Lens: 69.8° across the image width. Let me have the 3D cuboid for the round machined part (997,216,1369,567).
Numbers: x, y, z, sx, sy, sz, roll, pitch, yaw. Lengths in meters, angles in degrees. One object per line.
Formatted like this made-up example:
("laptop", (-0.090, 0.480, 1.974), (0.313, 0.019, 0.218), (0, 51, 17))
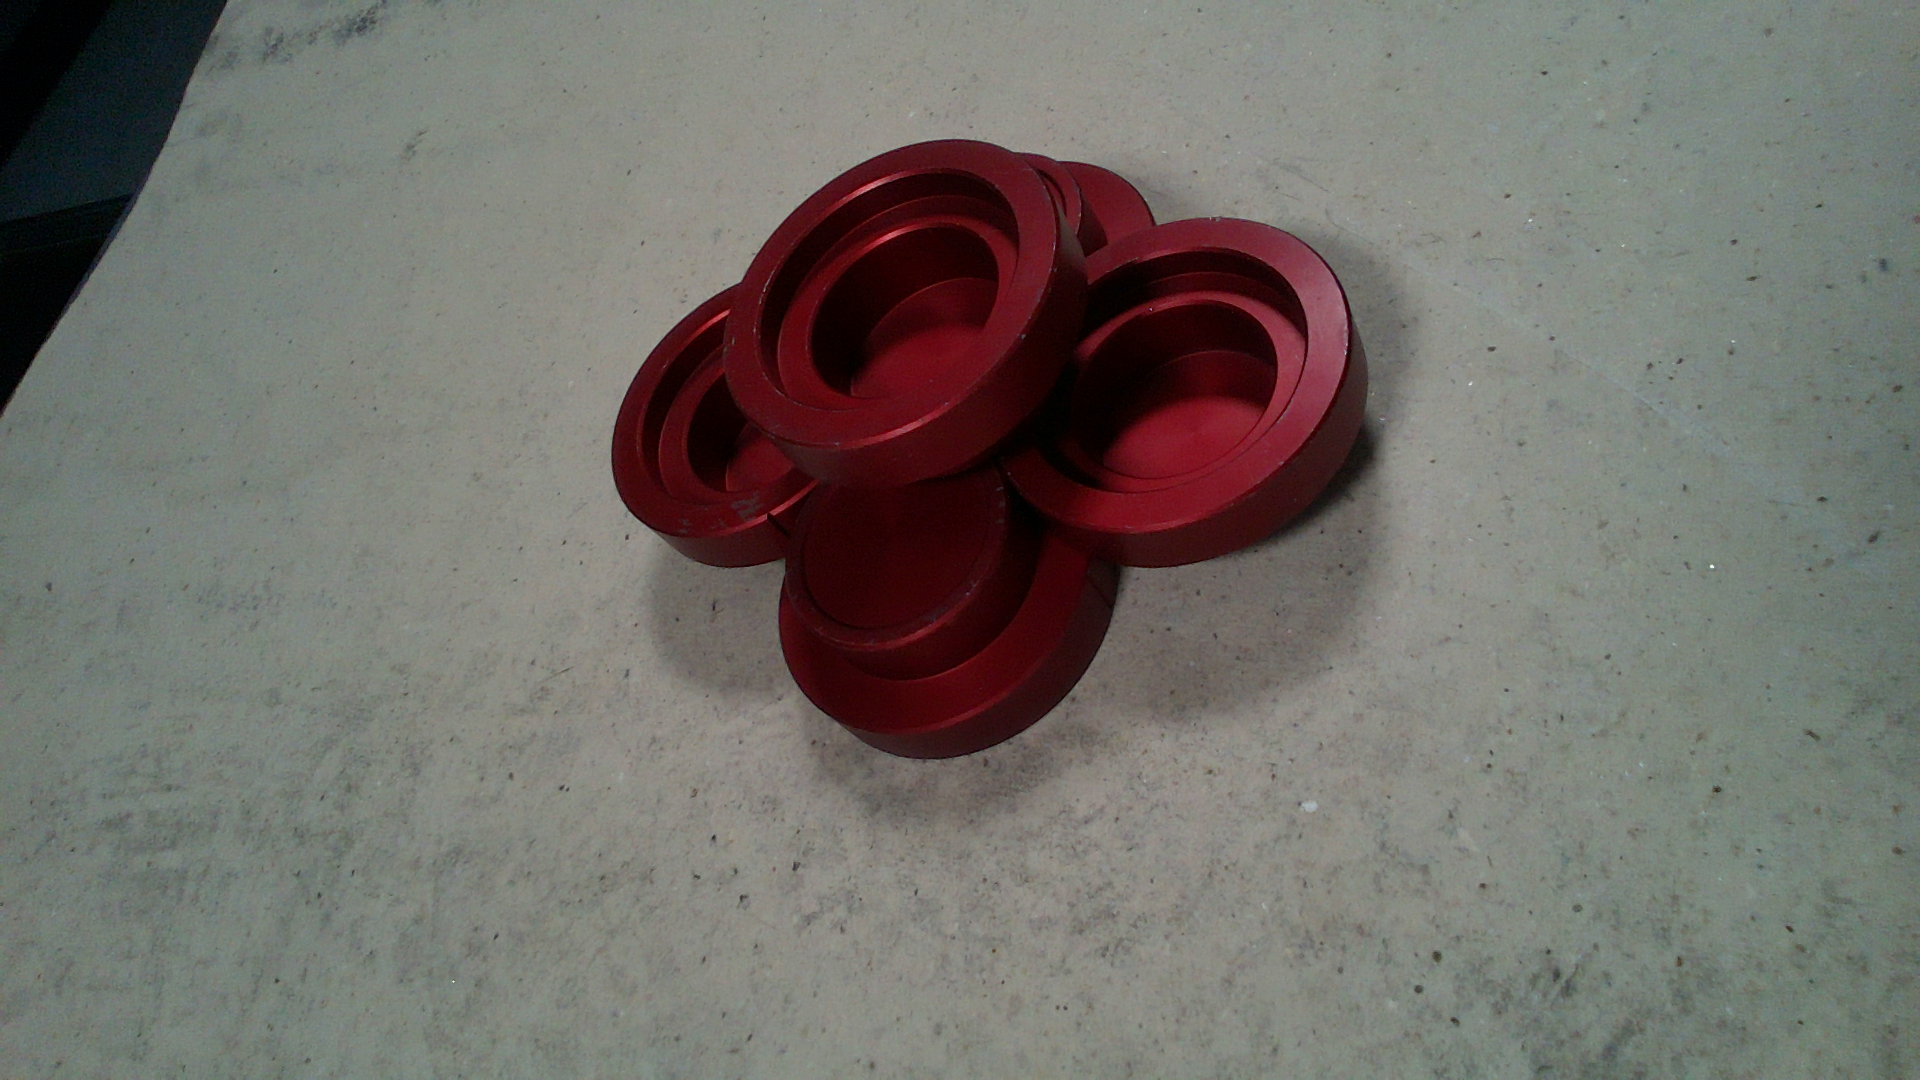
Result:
("round machined part", (0.061, -0.036, 0.372), (0.098, 0.042, 0.098), (-13, 56, 21))

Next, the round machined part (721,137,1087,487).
("round machined part", (-0.012, -0.056, 0.369), (0.098, 0.042, 0.098), (-13, 56, 21))

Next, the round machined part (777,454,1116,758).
("round machined part", (-0.009, 0.008, 0.383), (0.098, 0.042, 0.098), (-13, 56, 21))

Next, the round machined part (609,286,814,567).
("round machined part", (-0.058, -0.035, 0.436), (0.098, 0.042, 0.098), (-13, 56, 21))

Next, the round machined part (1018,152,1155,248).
("round machined part", (0.014, -0.080, 0.425), (0.098, 0.042, 0.098), (-13, 56, 21))
